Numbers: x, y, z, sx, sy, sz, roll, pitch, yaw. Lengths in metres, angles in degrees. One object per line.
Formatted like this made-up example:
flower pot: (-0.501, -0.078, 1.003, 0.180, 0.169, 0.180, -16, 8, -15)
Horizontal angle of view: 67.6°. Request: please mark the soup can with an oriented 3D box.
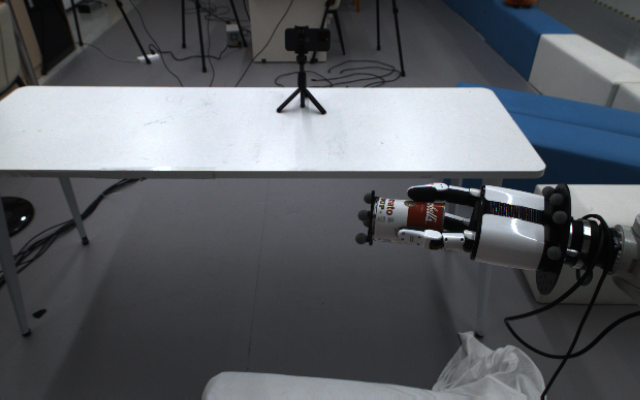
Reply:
soup can: (0.136, 0.033, 0.727, 0.101, 0.067, 0.067, 5, 34, 13)
